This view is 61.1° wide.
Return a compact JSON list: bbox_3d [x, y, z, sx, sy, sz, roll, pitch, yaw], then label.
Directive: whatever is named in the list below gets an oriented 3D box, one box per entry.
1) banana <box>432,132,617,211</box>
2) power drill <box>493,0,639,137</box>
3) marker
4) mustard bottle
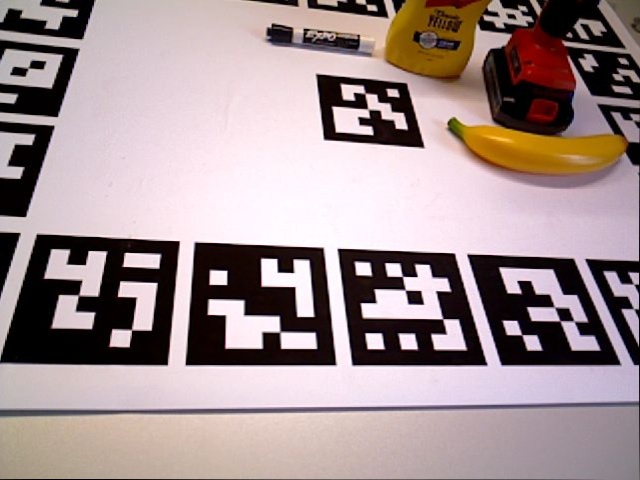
[{"bbox_3d":[0.210,-0.063,0.550,0.196,0.040,0.073,11,55,-3],"label":"banana"},{"bbox_3d":[0.236,-0.190,0.523,0.057,0.192,0.181,17,50,-3],"label":"power drill"},{"bbox_3d":[-0.012,-0.210,0.613,0.120,0.020,0.019,7,55,-8],"label":"marker"},{"bbox_3d":[0.128,-0.242,0.557,0.096,0.196,0.057,15,53,-4],"label":"mustard bottle"}]
